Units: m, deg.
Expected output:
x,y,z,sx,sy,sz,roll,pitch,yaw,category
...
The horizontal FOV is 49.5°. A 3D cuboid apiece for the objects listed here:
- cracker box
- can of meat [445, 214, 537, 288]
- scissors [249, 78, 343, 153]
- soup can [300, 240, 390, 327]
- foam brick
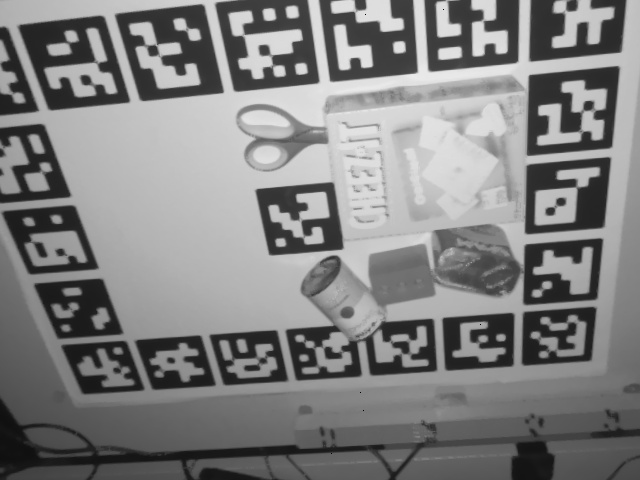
x,y,z,sx,sy,sz,roll,pitch,yaw,category
0.139,-0.110,0.772,0.213,0.072,0.163,-9,119,3,cracker box
0.204,0.007,0.841,0.102,0.084,0.057,10,118,-2,can of meat
0.023,-0.151,0.792,0.202,0.016,0.087,-7,117,6,scissors
0.034,0.057,0.897,0.067,0.068,0.102,-38,116,21,soup can
0.113,0.029,0.879,0.078,0.052,0.052,-12,117,10,foam brick
